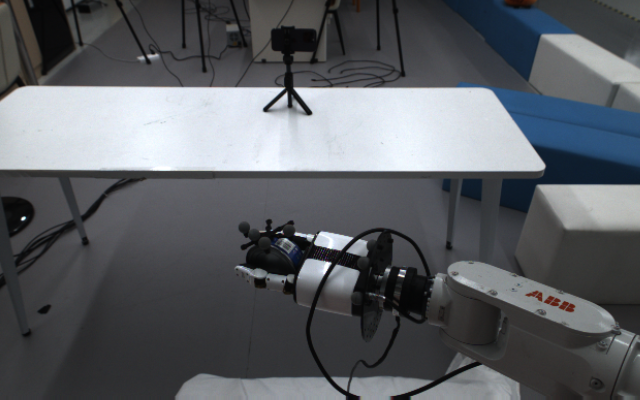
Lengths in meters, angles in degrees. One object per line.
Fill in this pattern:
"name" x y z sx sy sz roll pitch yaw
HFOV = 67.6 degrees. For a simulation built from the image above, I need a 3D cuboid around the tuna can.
"tuna can" -0.064 0.093 0.724 0.085 0.085 0.034 17 36 20
